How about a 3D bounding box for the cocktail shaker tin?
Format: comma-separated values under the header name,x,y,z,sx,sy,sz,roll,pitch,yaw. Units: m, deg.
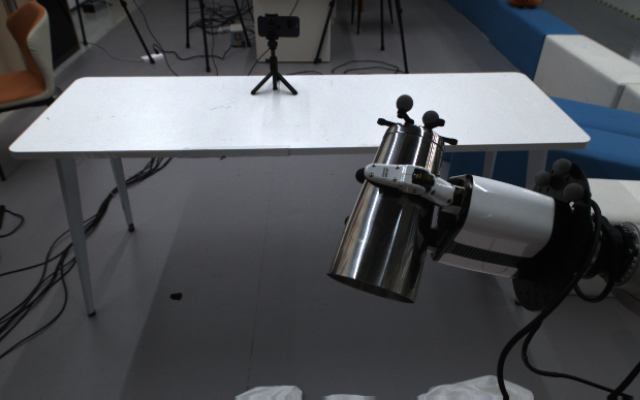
name,x,y,z,sx,sy,sz,roll,pitch,yaw
cocktail shaker tin,0.079,0.012,0.504,0.093,0.093,0.170,14,75,17
